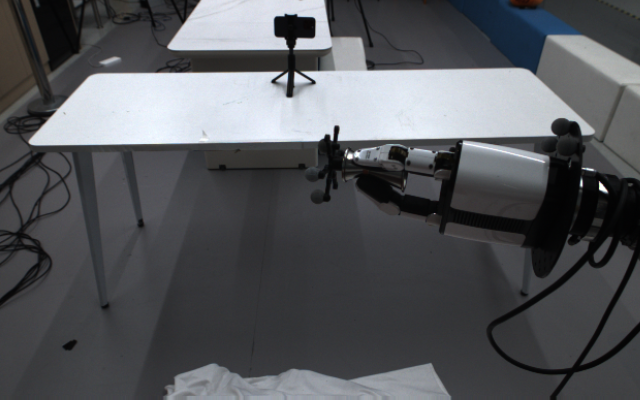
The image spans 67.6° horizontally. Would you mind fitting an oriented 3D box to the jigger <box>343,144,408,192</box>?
[{"bbox_3d":[0.066,-0.041,0.536,0.071,0.043,0.043,7,35,15],"label":"jigger"}]
